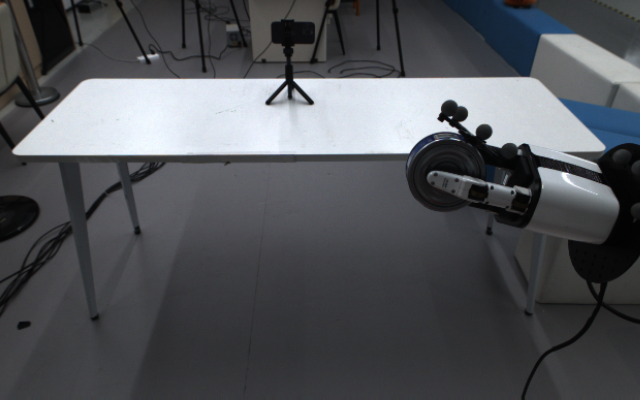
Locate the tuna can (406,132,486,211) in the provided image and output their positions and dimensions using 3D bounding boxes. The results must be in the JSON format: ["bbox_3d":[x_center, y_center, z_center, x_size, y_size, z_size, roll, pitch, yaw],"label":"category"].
[{"bbox_3d":[0.141,-0.033,0.541,0.085,0.085,0.034,6,19,6],"label":"tuna can"}]
